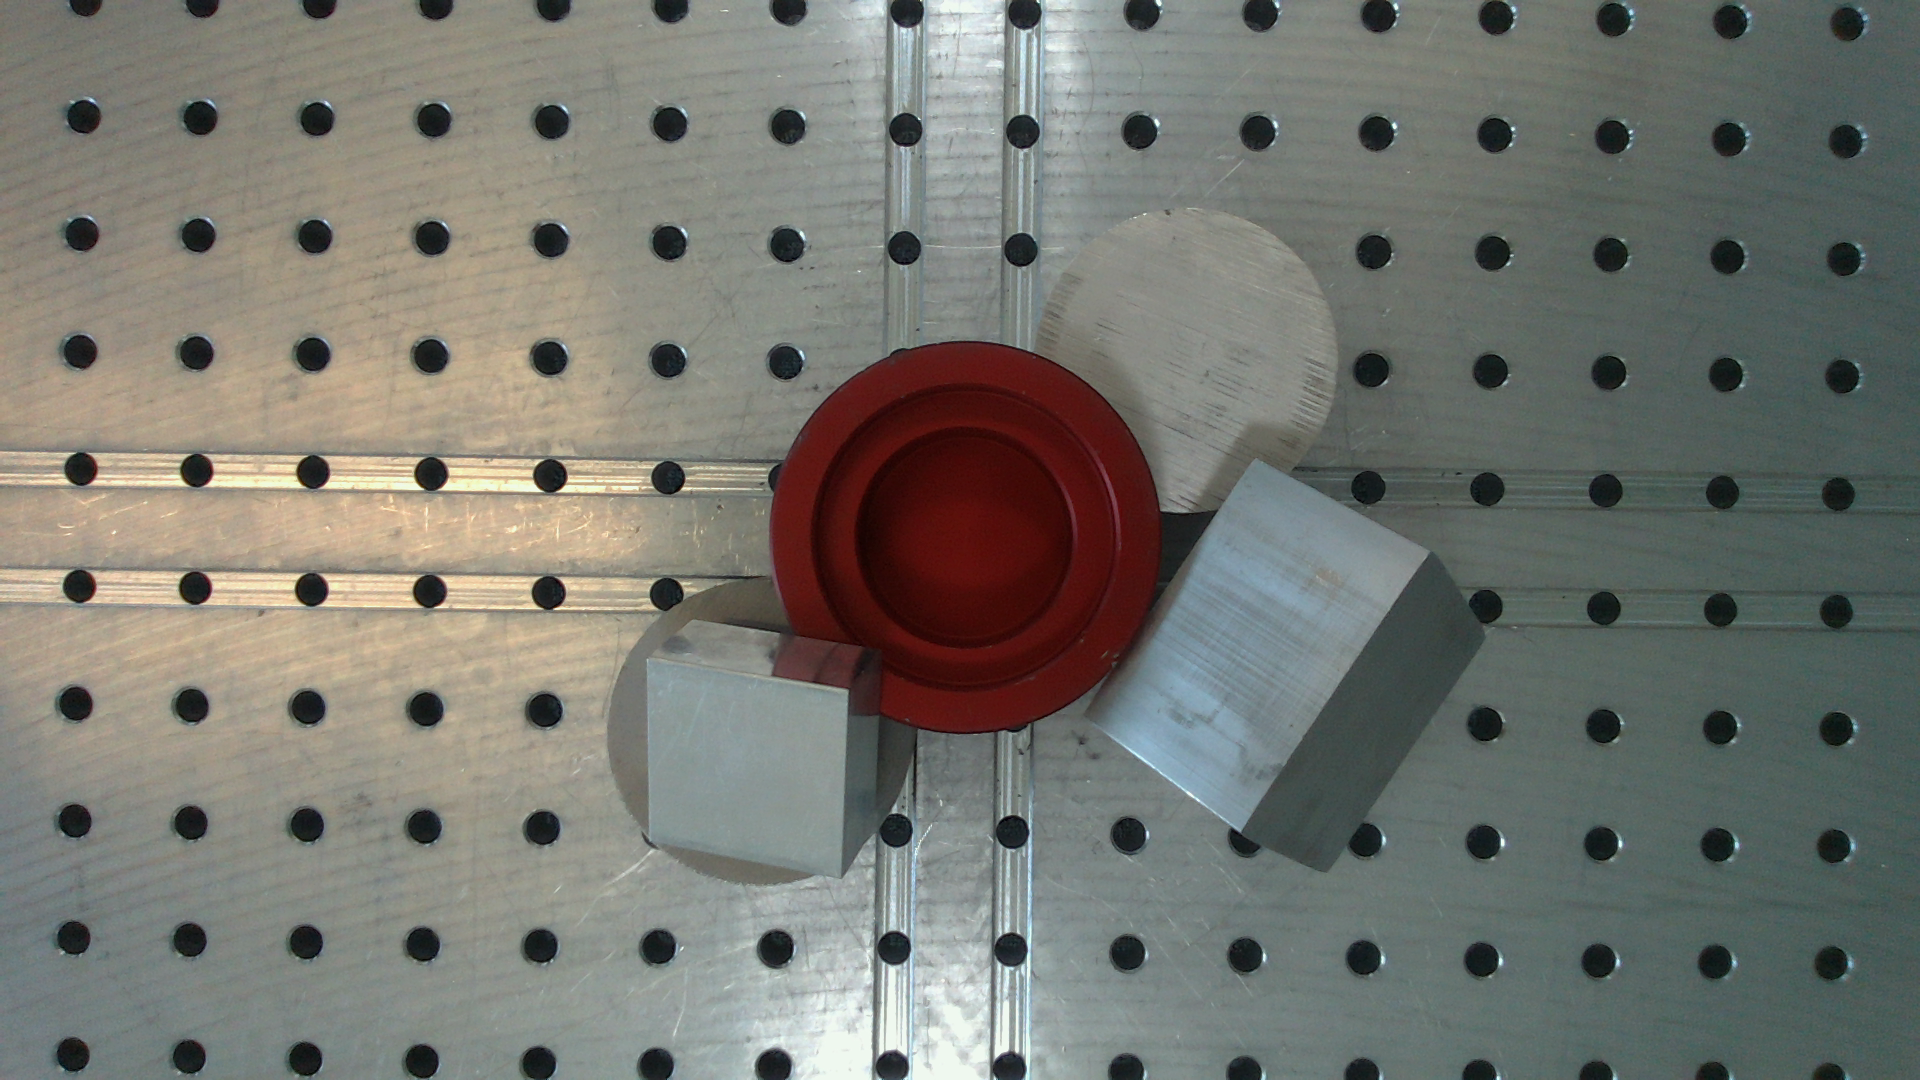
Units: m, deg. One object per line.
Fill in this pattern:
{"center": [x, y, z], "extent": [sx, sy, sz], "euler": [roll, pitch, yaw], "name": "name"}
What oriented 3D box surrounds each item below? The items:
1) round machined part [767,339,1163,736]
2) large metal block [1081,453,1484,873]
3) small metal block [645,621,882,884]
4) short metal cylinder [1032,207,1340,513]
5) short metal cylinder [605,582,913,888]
{"center": [0.001, -0.001, 0.360], "extent": [0.098, 0.042, 0.098], "euler": [0, 90, 0], "name": "round machined part"}
{"center": [0.088, 0.035, 0.364], "extent": [0.050, 0.080, 0.080], "euler": [34, 90, 34], "name": "large metal block"}
{"center": [-0.048, 0.051, 0.335], "extent": [0.050, 0.025, 0.050], "euler": [8, 110, 12], "name": "small metal block"}
{"center": [0.060, -0.047, 0.385], "extent": [0.080, 0.050, 0.080], "euler": [0, 90, 0], "name": "short metal cylinder"}
{"center": [-0.053, 0.051, 0.385], "extent": [0.080, 0.050, 0.080], "euler": [0, 90, 0], "name": "short metal cylinder"}
